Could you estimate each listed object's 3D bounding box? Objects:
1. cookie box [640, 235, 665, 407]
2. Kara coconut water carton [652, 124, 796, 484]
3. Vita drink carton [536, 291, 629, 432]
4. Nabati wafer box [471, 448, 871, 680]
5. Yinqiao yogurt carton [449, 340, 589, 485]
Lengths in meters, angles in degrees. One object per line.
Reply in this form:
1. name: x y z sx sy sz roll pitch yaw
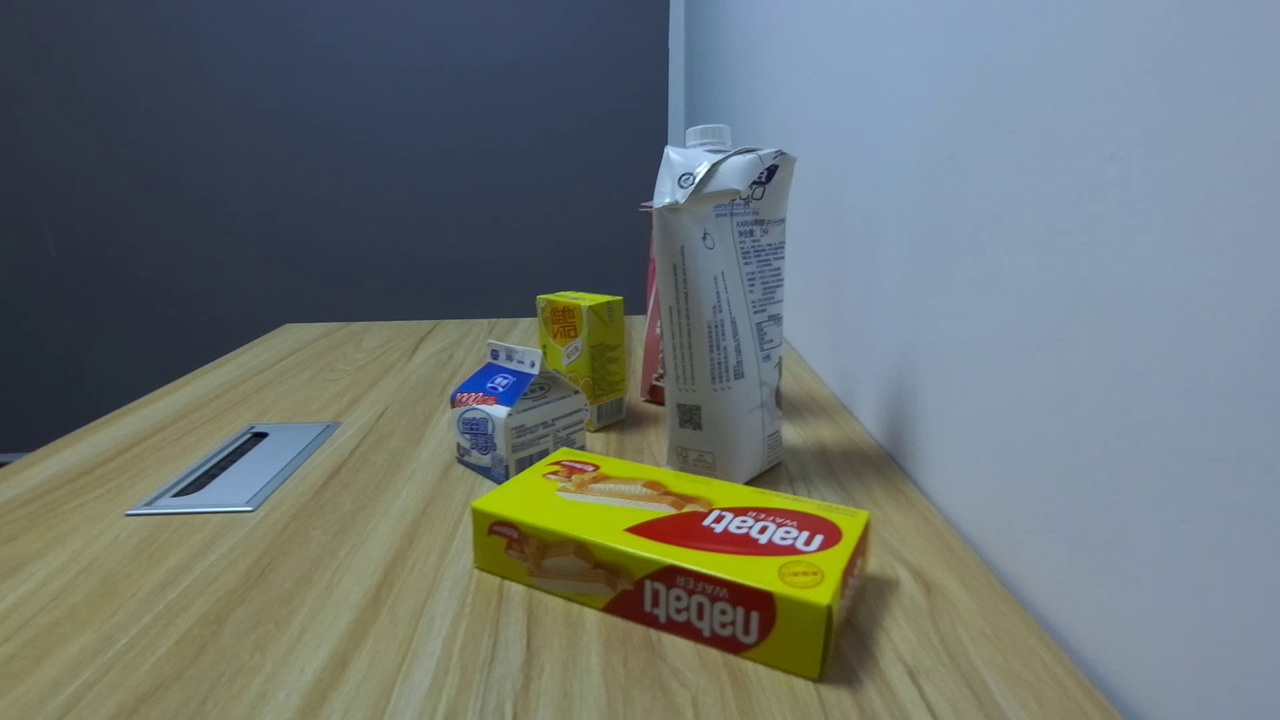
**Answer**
1. cookie box: 0.049 -0.049 0.637 0.118 0.184 0.056 6 14 39
2. Kara coconut water carton: 0.061 -0.036 0.486 0.069 0.238 0.115 11 20 40
3. Vita drink carton: -0.052 -0.002 0.604 0.076 0.109 0.043 14 21 41
4. Nabati wafer box: 0.014 0.097 0.384 0.202 0.042 0.093 8 19 27
5. Yinqiao yogurt carton: -0.090 0.032 0.522 0.074 0.092 0.075 -17 22 -41
